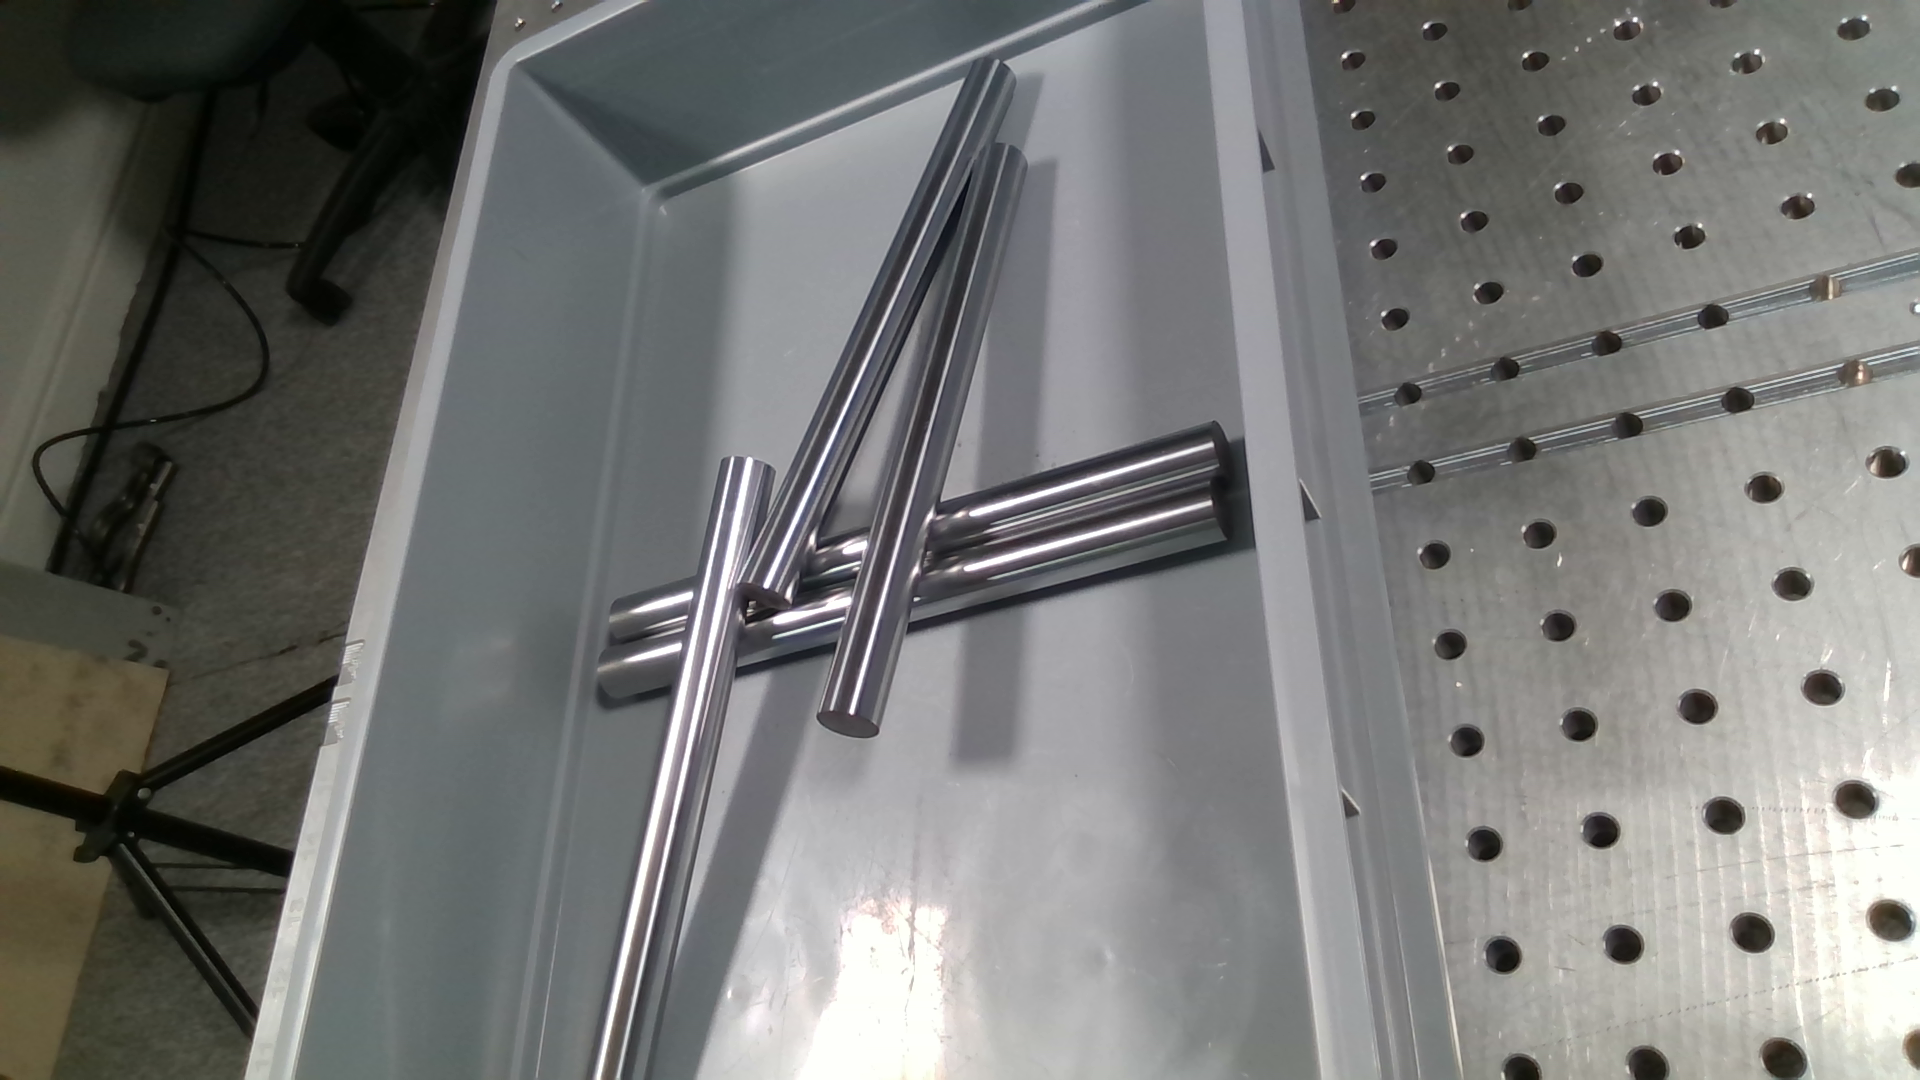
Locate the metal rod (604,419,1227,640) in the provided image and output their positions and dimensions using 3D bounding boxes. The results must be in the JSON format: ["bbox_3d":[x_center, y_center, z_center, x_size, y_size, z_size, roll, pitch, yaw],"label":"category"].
[{"bbox_3d":[-0.031,0.002,0.600,0.300,0.025,0.025,-16,58,24],"label":"metal rod"}]

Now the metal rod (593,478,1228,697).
[{"bbox_3d":[-0.033,0.025,0.589,0.300,0.025,0.025,-16,58,24],"label":"metal rod"}]

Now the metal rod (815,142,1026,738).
[{"bbox_3d":[-0.012,-0.057,0.596,0.025,0.025,0.299,-4,56,30],"label":"metal rod"}]

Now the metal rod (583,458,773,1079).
[{"bbox_3d":[-0.119,0.109,0.577,0.025,0.025,0.299,-1,71,31],"label":"metal rod"}]

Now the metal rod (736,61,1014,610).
[{"bbox_3d":[-0.034,-0.105,0.644,0.025,0.025,0.299,6,63,34],"label":"metal rod"}]
